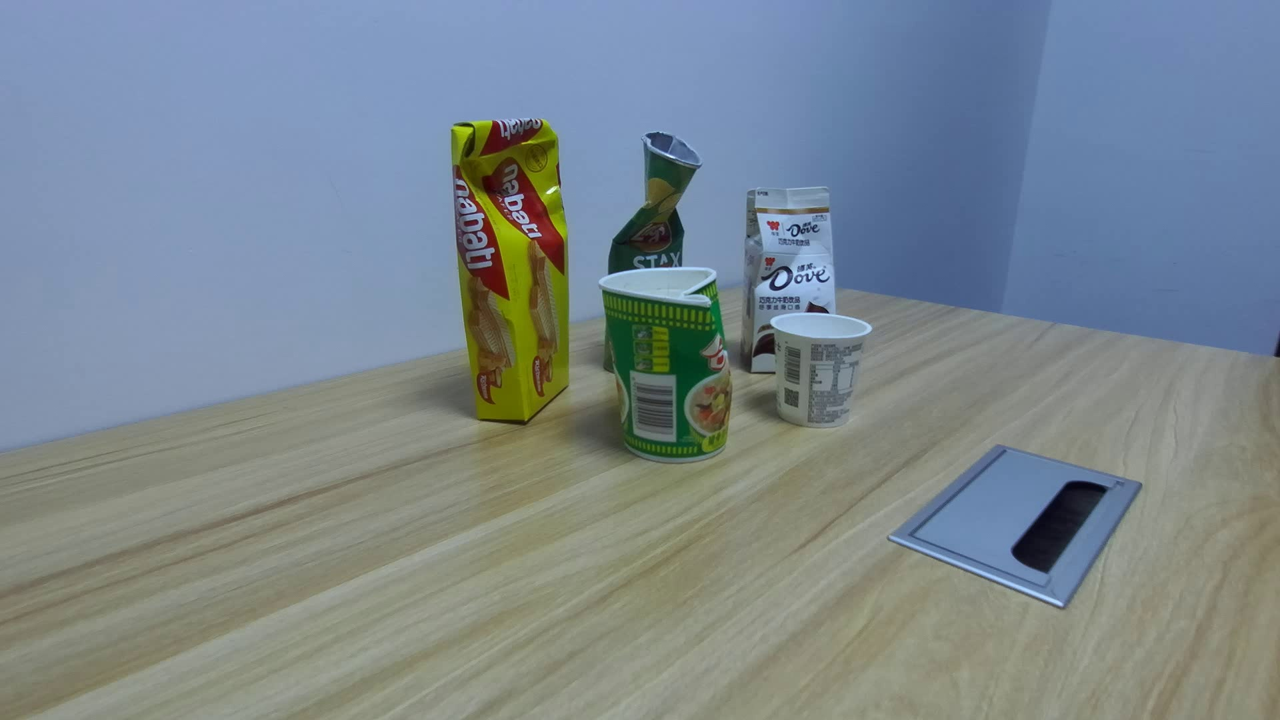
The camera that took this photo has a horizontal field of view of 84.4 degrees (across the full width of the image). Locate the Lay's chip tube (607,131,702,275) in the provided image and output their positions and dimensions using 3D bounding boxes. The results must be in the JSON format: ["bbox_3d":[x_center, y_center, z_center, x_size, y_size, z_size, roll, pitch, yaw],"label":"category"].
[{"bbox_3d":[0.012,-0.085,0.592,0.071,0.199,0.079,16,24,24],"label":"Lay's chip tube"}]

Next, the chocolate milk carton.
[{"bbox_3d":[0.133,-0.072,0.615,0.084,0.155,0.073,0,21,0],"label":"chocolate milk carton"}]

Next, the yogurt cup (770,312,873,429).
[{"bbox_3d":[0.126,0.007,0.506,0.072,0.068,0.072,0,18,0],"label":"yogurt cup"}]

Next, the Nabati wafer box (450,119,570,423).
[{"bbox_3d":[-0.088,-0.065,0.509,0.042,0.205,0.113,4,19,16],"label":"Nabati wafer box"}]

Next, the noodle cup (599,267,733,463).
[{"bbox_3d":[0.021,0.001,0.451,0.086,0.109,0.094,10,21,27],"label":"noodle cup"}]
